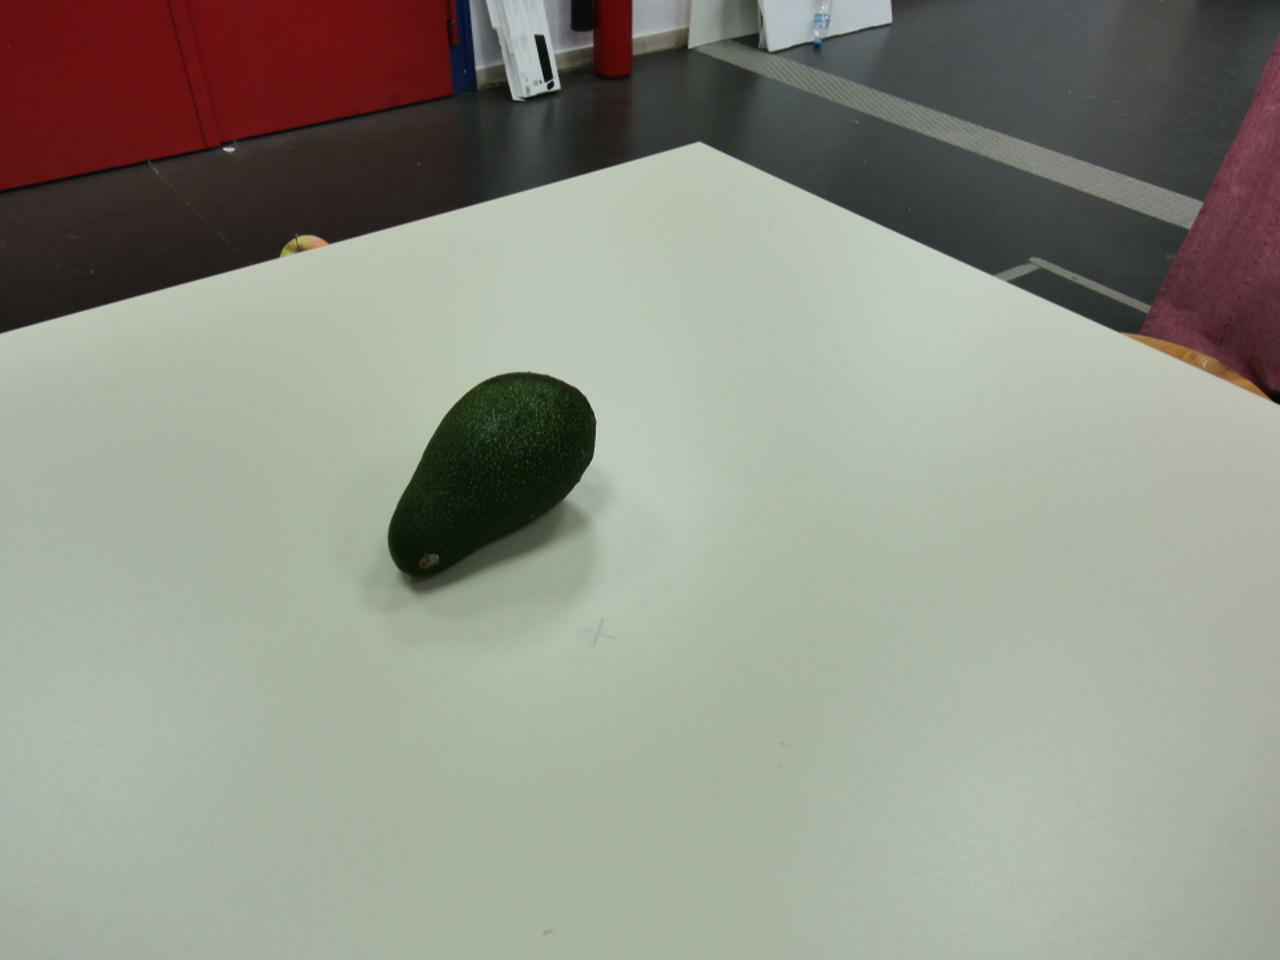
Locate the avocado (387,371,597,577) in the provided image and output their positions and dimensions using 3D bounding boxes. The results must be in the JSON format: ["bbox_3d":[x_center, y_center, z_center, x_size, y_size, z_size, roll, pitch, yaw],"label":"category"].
[{"bbox_3d":[-0.078,-0.011,0.501,0.123,0.076,0.074,-20,42,-25],"label":"avocado"}]
